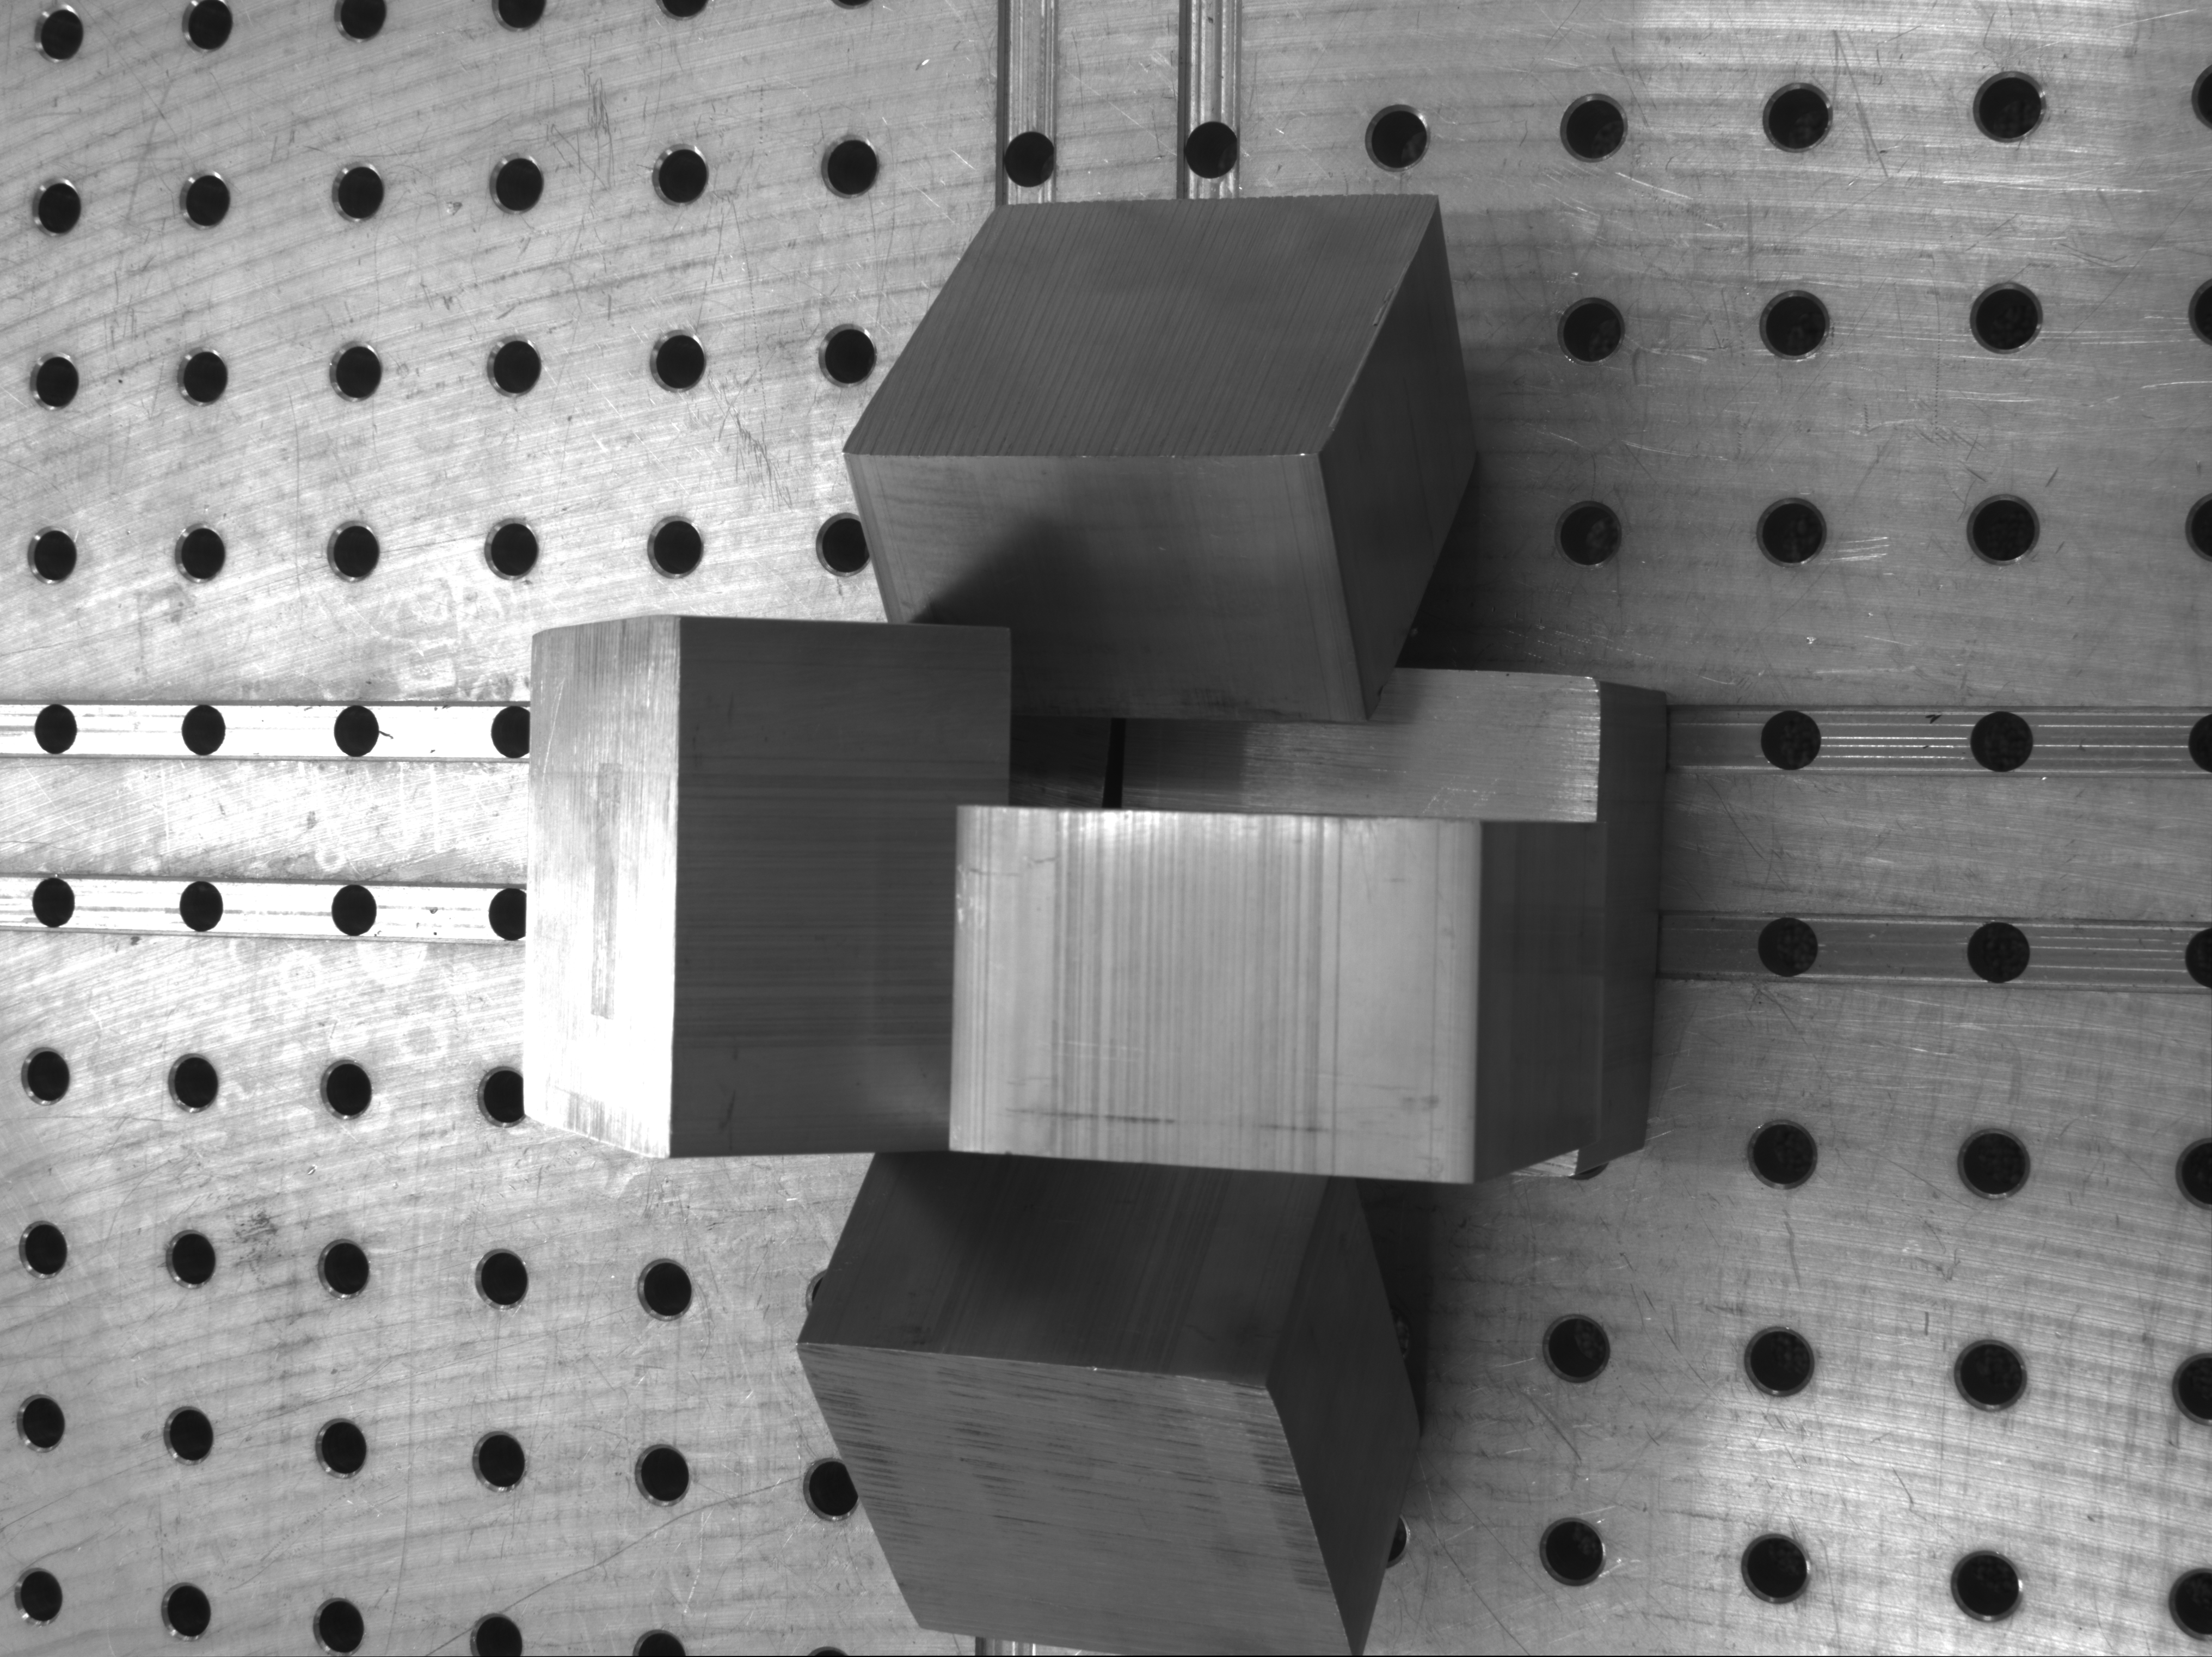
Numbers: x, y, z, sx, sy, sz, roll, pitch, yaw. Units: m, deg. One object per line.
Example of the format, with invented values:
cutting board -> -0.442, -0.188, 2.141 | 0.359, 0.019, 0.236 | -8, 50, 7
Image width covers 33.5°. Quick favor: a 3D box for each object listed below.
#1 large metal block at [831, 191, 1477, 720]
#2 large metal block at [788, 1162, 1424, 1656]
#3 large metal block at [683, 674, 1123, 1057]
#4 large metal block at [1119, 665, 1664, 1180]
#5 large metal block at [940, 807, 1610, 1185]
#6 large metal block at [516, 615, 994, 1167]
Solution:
large metal block -> 0.011, -0.063, 0.609 | 0.080, 0.080, 0.050 | 2, 129, 20
large metal block -> 0.003, 0.095, 0.613 | 0.080, 0.050, 0.080 | 2, 135, 20
large metal block -> -0.032, 0.010, 0.648 | 0.080, 0.050, 0.080 | 7, 92, 20
large metal block -> 0.047, 0.014, 0.618 | 0.080, 0.050, 0.080 | 3, 91, 20
large metal block -> 0.028, 0.023, 0.557 | 0.080, 0.080, 0.050 | 2, 90, 20
large metal block -> -0.057, 0.009, 0.579 | 0.050, 0.080, 0.080 | 1, 91, -25
